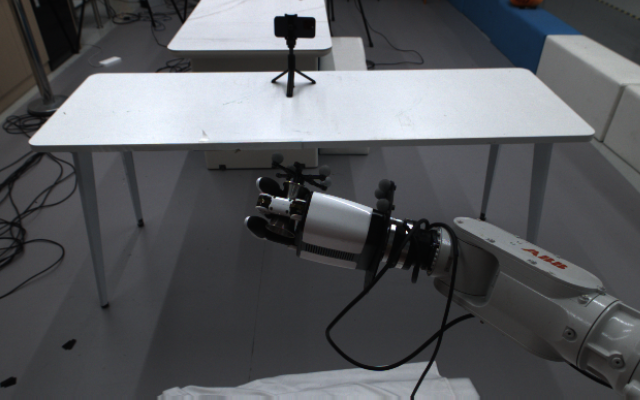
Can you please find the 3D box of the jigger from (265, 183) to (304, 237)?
[{"bbox_3d":[-0.044,0.011,0.672,0.043,0.043,0.071,12,71,14],"label":"jigger"}]
